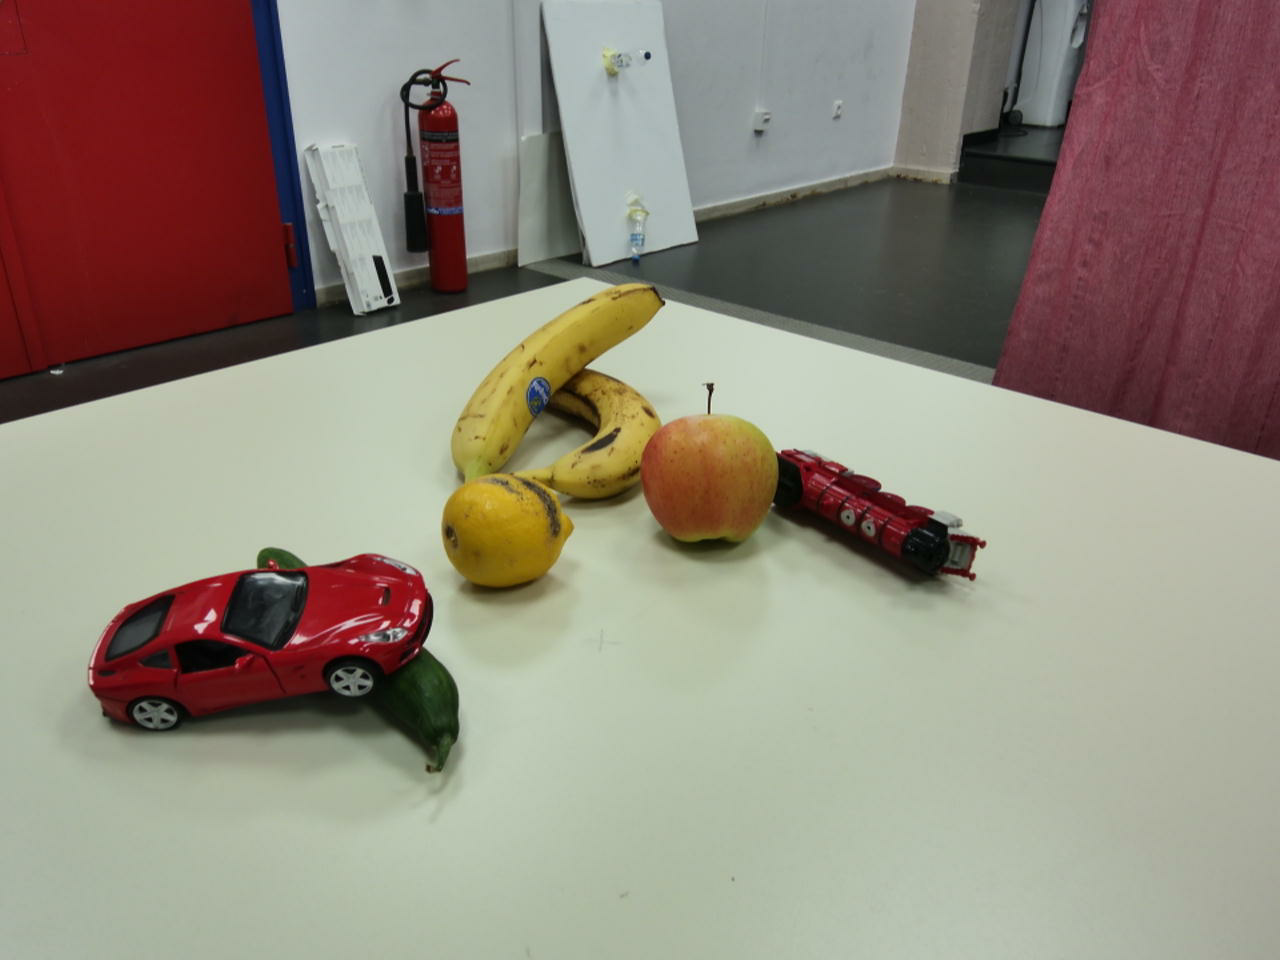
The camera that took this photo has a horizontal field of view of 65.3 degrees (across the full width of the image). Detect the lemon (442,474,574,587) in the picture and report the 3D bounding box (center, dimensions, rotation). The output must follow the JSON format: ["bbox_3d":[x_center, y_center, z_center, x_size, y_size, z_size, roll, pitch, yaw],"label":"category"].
[{"bbox_3d":[-0.068,0.025,0.498,0.058,0.056,0.061,16,29,30],"label":"lemon"}]
